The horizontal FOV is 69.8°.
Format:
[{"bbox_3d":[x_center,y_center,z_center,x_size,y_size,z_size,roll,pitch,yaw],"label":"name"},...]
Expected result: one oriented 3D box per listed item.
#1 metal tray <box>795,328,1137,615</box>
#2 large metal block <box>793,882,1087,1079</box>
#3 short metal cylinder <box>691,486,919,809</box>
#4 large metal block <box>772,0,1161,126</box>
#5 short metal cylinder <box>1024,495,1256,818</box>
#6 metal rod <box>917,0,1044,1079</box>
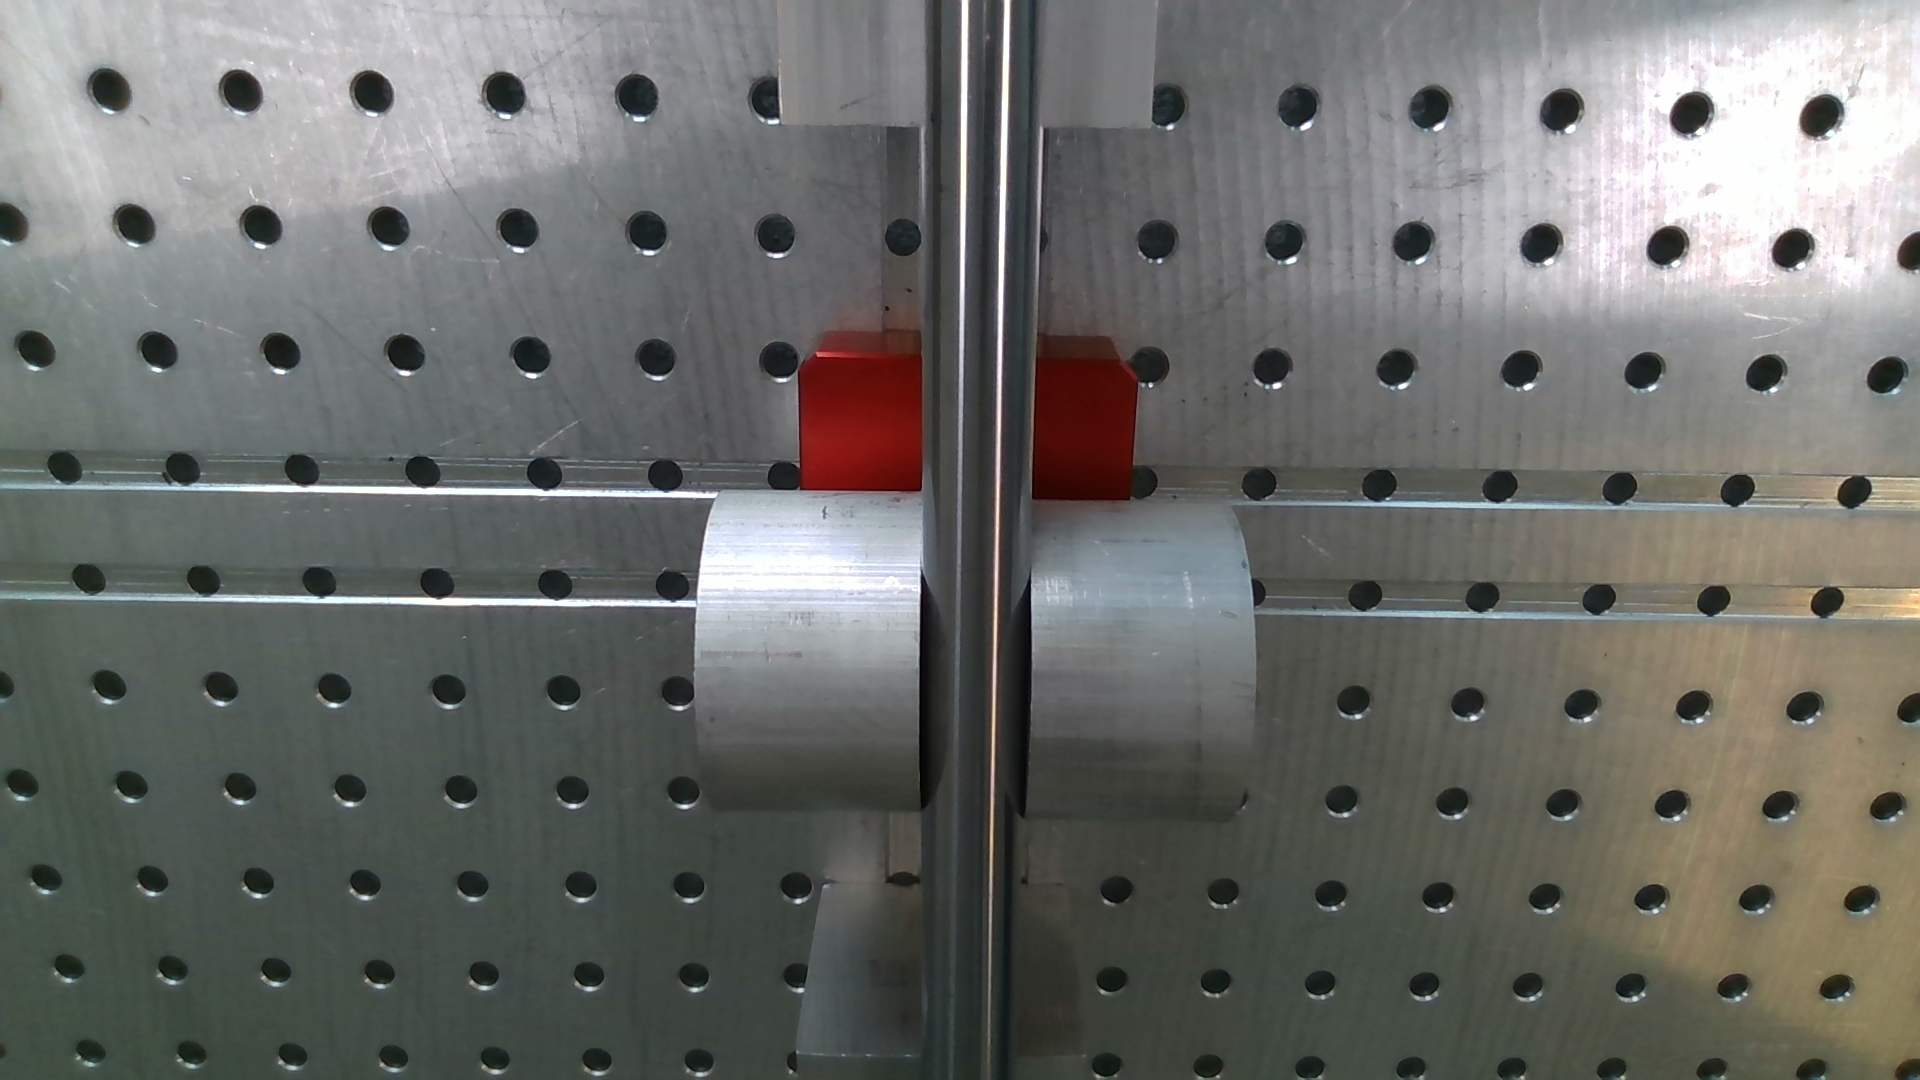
[{"bbox_3d":[0.000,0.007,0.396,0.090,0.030,0.130,1,110,0],"label":"metal tray"},{"bbox_3d":[-0.006,0.149,0.420,0.080,0.080,0.050,1,110,0],"label":"large metal block"},{"bbox_3d":[-0.035,0.027,0.345,0.050,0.080,0.080,1,110,0],"label":"short metal cylinder"},{"bbox_3d":[0.001,-0.125,0.320,0.080,0.080,0.050,1,110,0],"label":"large metal block"},{"bbox_3d":[0.041,0.029,0.346,0.050,0.080,0.080,1,110,0],"label":"short metal cylinder"},{"bbox_3d":[0.003,0.029,0.321,0.025,0.025,0.301,1,110,0],"label":"metal rod"}]
